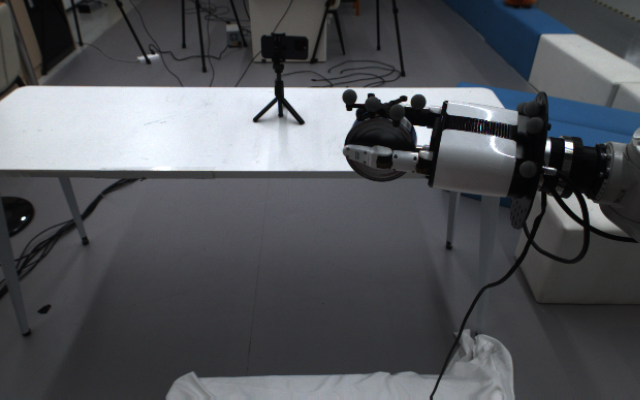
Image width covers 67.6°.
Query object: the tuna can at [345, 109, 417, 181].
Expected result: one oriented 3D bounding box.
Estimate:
[{"bbox_3d":[0.076,-0.069,0.593,0.085,0.085,0.034,10,34,11],"label":"tuna can"}]
